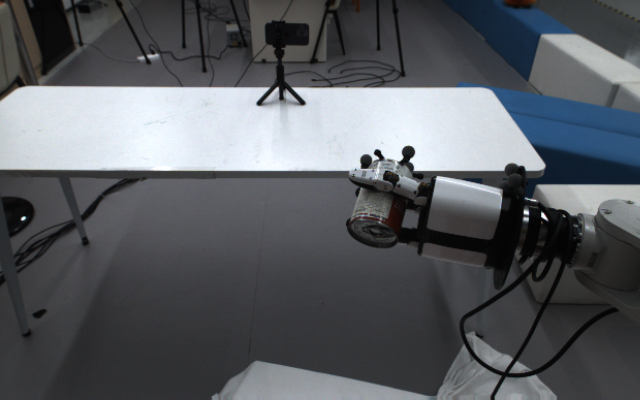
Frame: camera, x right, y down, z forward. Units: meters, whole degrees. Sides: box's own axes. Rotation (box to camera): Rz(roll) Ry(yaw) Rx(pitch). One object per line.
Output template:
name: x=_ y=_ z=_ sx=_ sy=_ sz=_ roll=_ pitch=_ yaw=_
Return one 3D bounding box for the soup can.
soup can: x=0.083 y=0.002 z=0.648 sx=0.067 sy=0.067 sz=0.101 roll=12 pitch=59 yaw=14
